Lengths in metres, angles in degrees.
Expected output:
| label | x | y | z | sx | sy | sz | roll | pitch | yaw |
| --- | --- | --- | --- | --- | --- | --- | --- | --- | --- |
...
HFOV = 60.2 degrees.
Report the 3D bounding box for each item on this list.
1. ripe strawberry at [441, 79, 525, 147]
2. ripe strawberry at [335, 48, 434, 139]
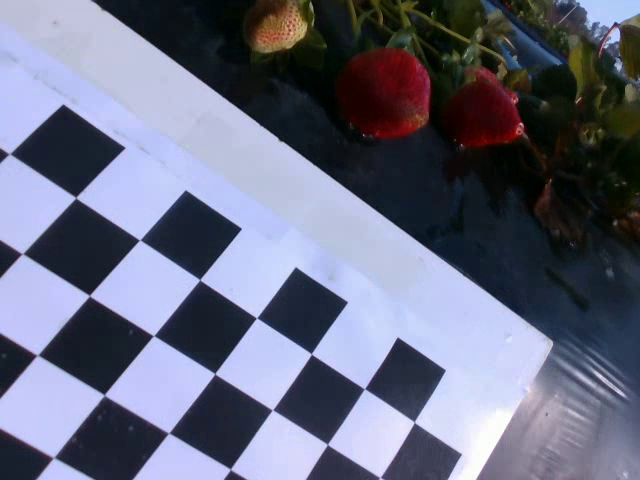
| label | x | y | z | sx | sy | sz | roll | pitch | yaw |
| --- | --- | --- | --- | --- | --- | --- | --- | --- | --- |
| ripe strawberry | 0.098 | -0.073 | 0.331 | 0.044 | 0.042 | 0.055 | -28 | 37 | -17 |
| ripe strawberry | 0.035 | -0.074 | 0.273 | 0.050 | 0.050 | 0.065 | -4 | 26 | -14 |
